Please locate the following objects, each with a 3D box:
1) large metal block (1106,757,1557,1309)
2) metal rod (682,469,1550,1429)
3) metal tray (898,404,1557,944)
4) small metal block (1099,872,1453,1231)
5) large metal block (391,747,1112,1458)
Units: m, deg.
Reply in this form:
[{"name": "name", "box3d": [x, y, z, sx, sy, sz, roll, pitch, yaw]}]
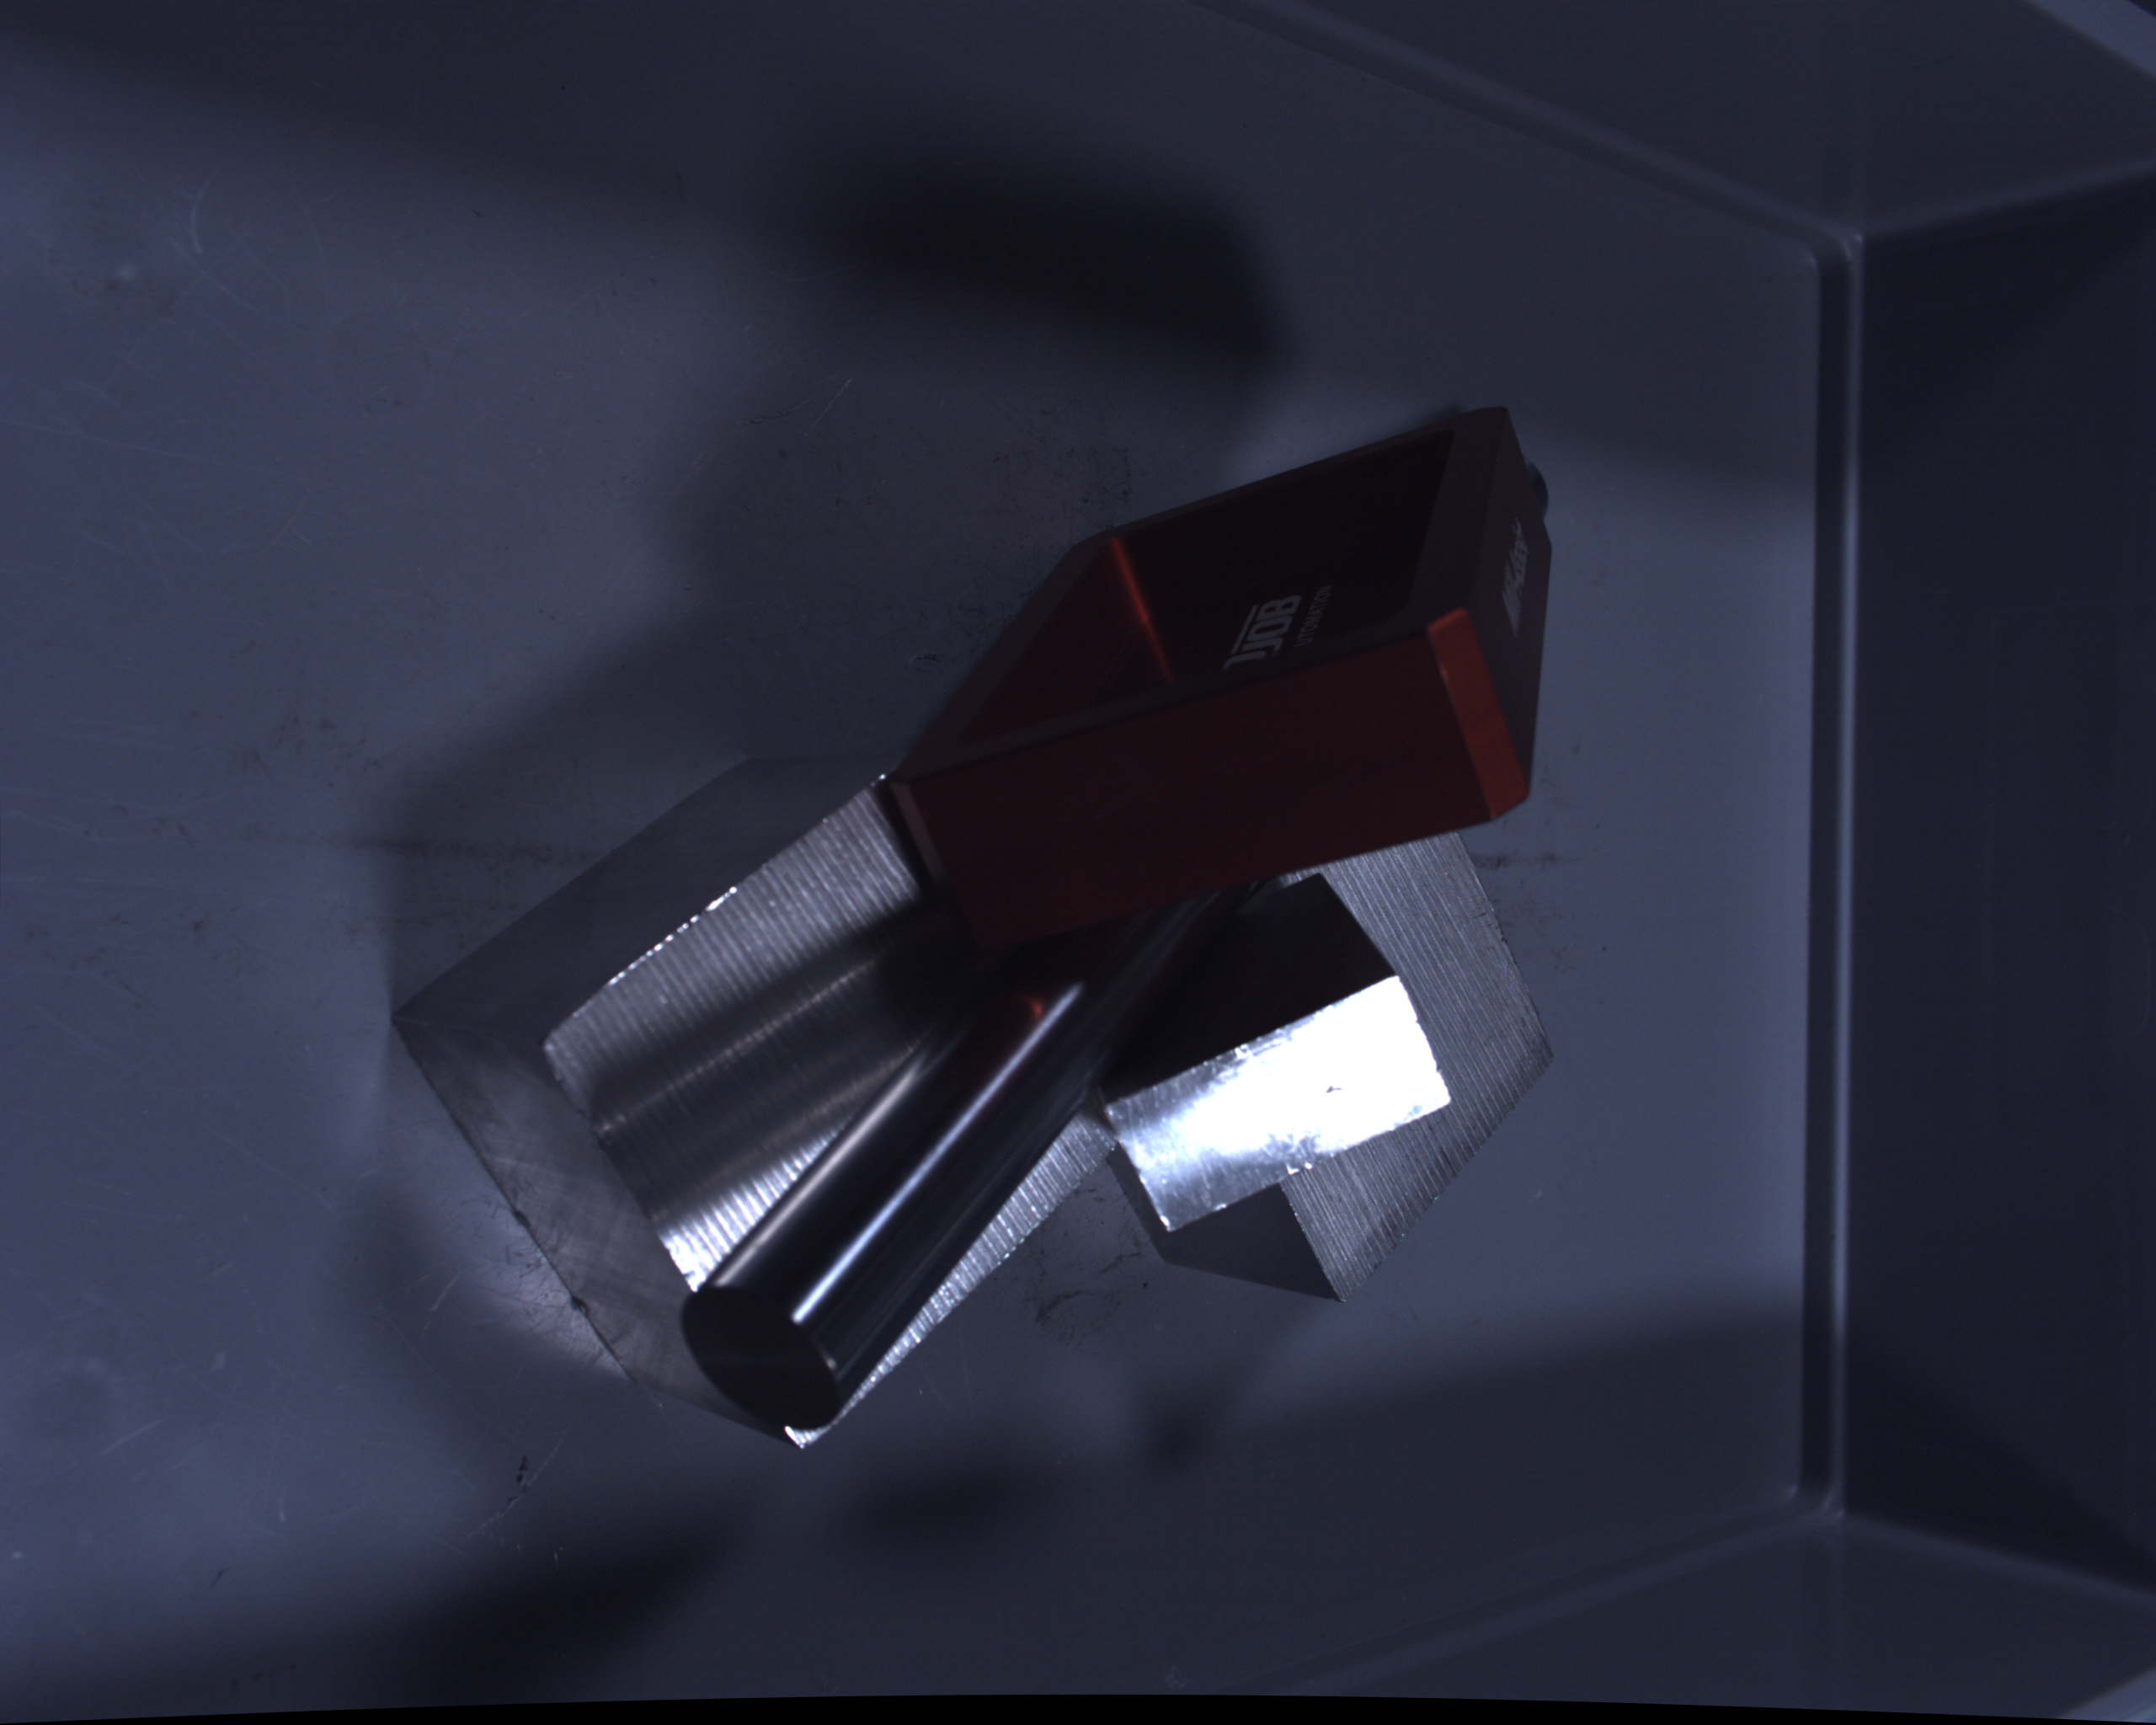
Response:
[{"name": "large metal block", "box3d": [0.043, 0.031, 0.427, 0.080, 0.050, 0.080, -41, 115, -32]}, {"name": "metal rod", "box3d": [0.029, -0.011, 0.383, 0.301, 0.025, 0.025, -47, 119, -47]}, {"name": "metal tray", "box3d": [0.032, -0.037, 0.356, 0.130, 0.090, 0.030, -62, 134, -62]}, {"name": "small metal block", "box3d": [0.029, 0.030, 0.351, 0.050, 0.050, 0.025, -24, 109, 1]}, {"name": "large metal block", "box3d": [-0.049, 0.036, 0.346, 0.080, 0.050, 0.080, -41, 115, -32]}]
